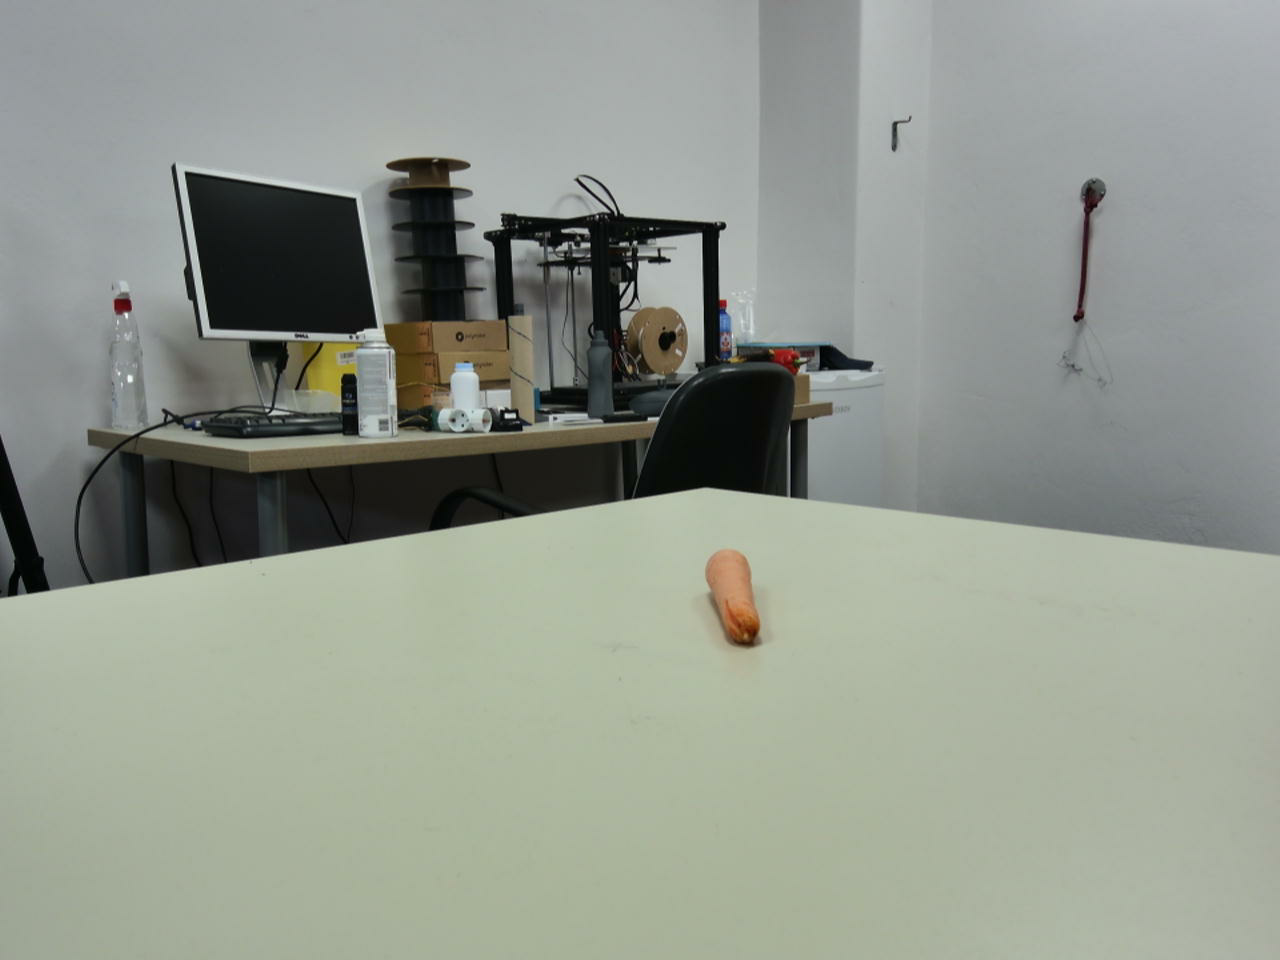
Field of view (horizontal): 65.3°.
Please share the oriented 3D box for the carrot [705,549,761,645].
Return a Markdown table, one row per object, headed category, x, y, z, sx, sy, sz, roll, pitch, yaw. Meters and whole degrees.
| category | x | y | z | sx | sy | sz | roll | pitch | yaw |
| --- | --- | --- | --- | --- | --- | --- | --- | --- | --- |
| carrot | 0.054 | 0.064 | 0.582 | 0.030 | 0.032 | 0.136 | 1 | 6 | 2 |
